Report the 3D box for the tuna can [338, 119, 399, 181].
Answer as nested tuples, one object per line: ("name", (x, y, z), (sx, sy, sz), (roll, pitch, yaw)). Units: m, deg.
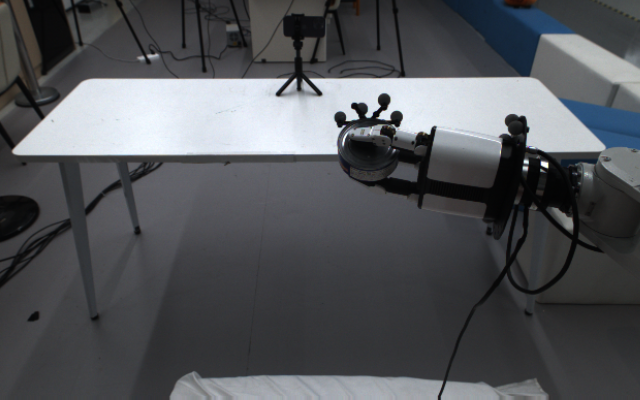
("tuna can", (0.066, -0.069, 0.658), (0.085, 0.034, 0.085), (-2, 58, 2))
